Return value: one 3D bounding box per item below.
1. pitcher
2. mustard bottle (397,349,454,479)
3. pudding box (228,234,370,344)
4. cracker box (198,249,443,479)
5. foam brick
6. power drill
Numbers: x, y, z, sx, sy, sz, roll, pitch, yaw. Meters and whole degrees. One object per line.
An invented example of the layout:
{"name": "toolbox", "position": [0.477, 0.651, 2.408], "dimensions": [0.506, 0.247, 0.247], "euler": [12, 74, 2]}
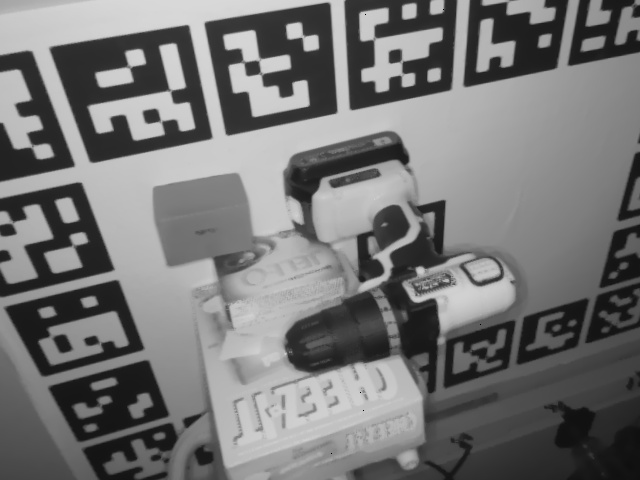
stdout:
{"name": "pitcher", "position": [-0.043, 0.208, 0.672], "dimensions": [0.191, 0.242, 0.132], "euler": [-9, 125, -16]}
{"name": "mustard bottle", "position": [0.082, 0.171, 0.707], "dimensions": [0.097, 0.191, 0.058], "euler": [-2, 122, -18]}
{"name": "pudding box", "position": [-0.020, 0.042, 0.644], "dimensions": [0.115, 0.090, 0.038], "euler": [-14, 127, -14]}
{"name": "cracker box", "position": [-0.008, 0.112, 0.627], "dimensions": [0.165, 0.213, 0.071], "euler": [-16, 128, -12]}
{"name": "foam brick", "position": [-0.090, -0.014, 0.623], "dimensions": [0.079, 0.051, 0.052], "euler": [-12, 123, -12]}
{"name": "power drill", "position": [0.053, 0.015, 0.567], "dimensions": [0.186, 0.187, 0.057], "euler": [-14, 129, -10]}
